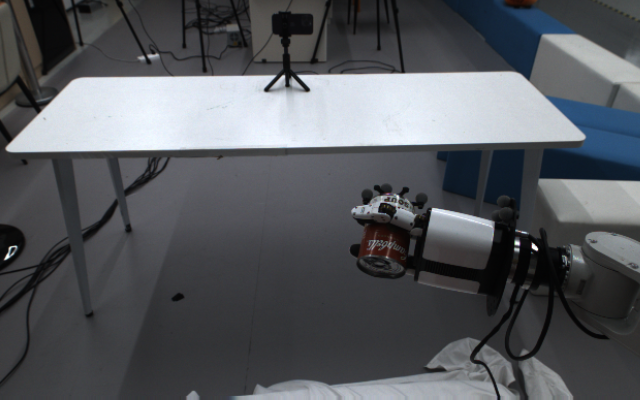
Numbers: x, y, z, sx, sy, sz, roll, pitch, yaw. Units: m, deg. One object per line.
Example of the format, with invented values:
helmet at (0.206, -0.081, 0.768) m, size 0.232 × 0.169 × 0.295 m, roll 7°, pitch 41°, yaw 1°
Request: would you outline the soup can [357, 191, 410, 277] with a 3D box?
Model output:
soup can at (0.094, 0.049, 0.672) m, size 0.067 × 0.067 × 0.101 m, roll 9°, pitch 58°, yaw 10°
